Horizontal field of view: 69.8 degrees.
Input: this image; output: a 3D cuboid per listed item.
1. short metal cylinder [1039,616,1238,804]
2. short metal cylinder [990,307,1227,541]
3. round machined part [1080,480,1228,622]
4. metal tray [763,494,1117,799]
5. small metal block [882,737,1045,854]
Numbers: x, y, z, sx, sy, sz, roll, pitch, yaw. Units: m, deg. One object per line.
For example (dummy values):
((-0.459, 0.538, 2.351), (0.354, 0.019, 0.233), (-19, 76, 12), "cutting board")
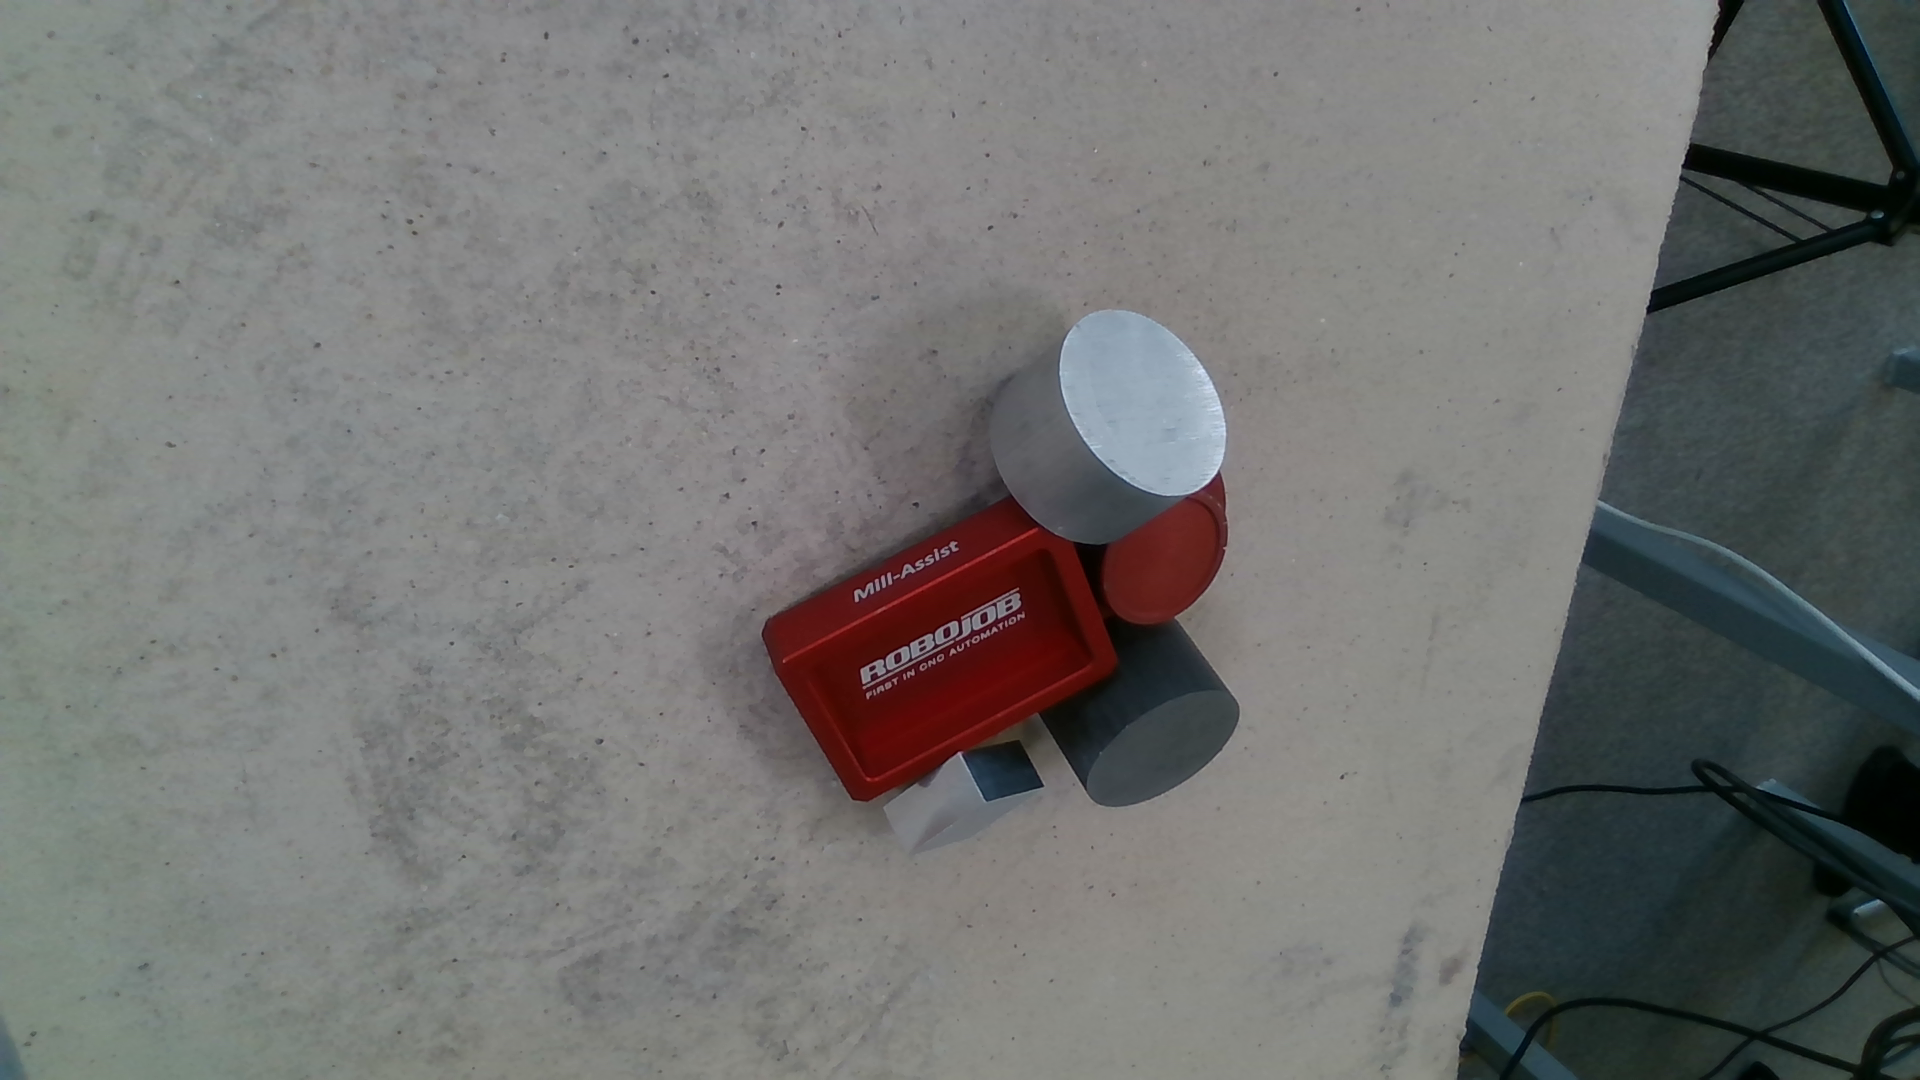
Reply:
((0.082, 0.078, 0.645), (0.080, 0.050, 0.080), (-19, 141, -17), "short metal cylinder")
((0.059, -0.045, 0.549), (0.080, 0.080, 0.050), (2, 157, -32), "short metal cylinder")
((0.081, -0.002, 0.619), (0.098, 0.042, 0.098), (-14, 122, -25), "round machined part")
((-0.007, 0.044, 0.584), (0.130, 0.030, 0.090), (-28, 127, -5), "metal tray")
((0.002, 0.115, 0.622), (0.050, 0.025, 0.050), (-39, 159, 27), "small metal block")
